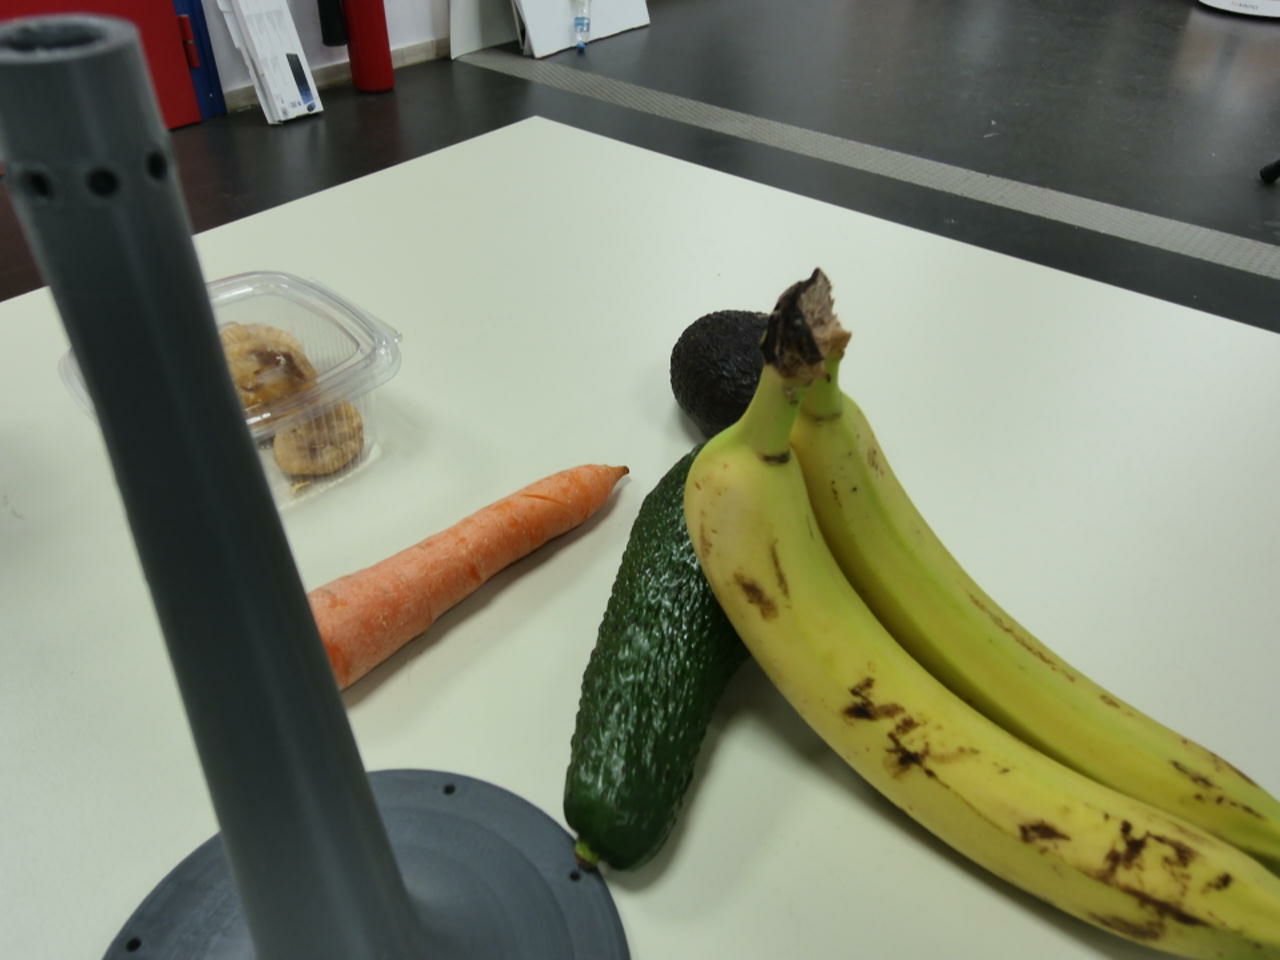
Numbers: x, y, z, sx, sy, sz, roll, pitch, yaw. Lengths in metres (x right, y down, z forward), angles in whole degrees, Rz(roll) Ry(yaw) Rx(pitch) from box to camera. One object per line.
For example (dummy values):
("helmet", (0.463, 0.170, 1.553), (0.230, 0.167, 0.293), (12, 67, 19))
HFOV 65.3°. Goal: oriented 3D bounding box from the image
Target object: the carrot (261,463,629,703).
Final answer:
("carrot", (-0.072, 0.028, 0.420), (0.039, 0.041, 0.196), (26, 43, 30))
